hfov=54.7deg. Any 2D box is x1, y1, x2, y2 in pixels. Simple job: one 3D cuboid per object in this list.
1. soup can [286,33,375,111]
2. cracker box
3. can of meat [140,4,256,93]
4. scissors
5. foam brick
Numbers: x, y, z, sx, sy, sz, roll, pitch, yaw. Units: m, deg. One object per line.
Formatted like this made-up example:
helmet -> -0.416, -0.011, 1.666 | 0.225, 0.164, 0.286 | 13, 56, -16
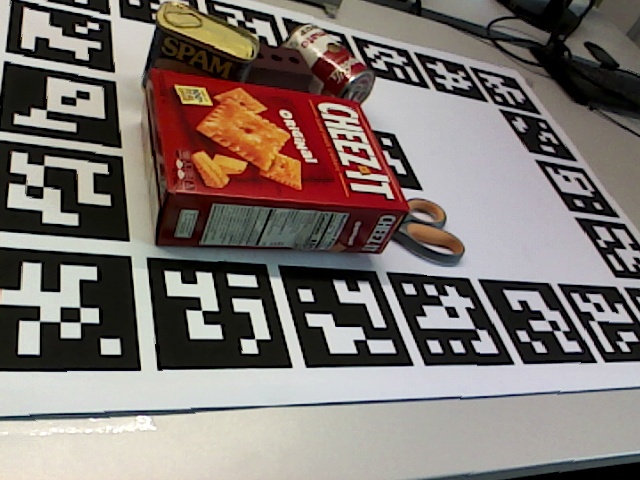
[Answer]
soup can -> 0.007, -0.200, 0.764 | 0.102, 0.068, 0.067 | 38, 42, 15
cracker box -> -0.047, -0.072, 0.572 | 0.212, 0.072, 0.165 | -2, 51, -27
can of meat -> -0.129, -0.180, 0.638 | 0.101, 0.084, 0.058 | 16, 45, -17
scissors -> 0.052, -0.016, 0.622 | 0.201, 0.016, 0.088 | 1, 51, -29
foam brick -> -0.059, -0.185, 0.712 | 0.077, 0.051, 0.053 | -4, 53, -33
